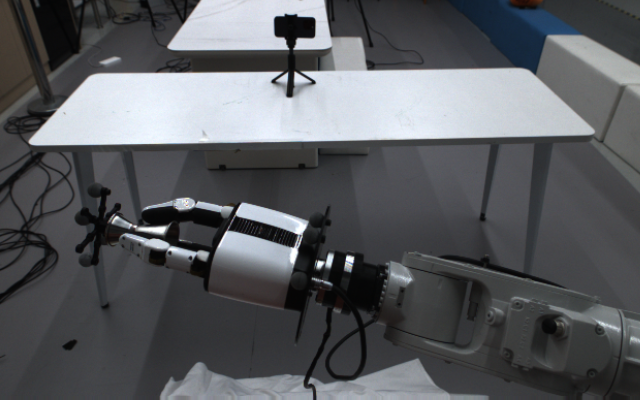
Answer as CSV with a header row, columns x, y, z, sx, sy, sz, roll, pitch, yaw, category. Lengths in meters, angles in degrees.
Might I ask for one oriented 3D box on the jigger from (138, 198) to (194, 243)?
x,y,z,sx,sy,sz,roll,pitch,yaw,category
-0.192,0.038,0.549,0.071,0.043,0.043,10,35,3,jigger
